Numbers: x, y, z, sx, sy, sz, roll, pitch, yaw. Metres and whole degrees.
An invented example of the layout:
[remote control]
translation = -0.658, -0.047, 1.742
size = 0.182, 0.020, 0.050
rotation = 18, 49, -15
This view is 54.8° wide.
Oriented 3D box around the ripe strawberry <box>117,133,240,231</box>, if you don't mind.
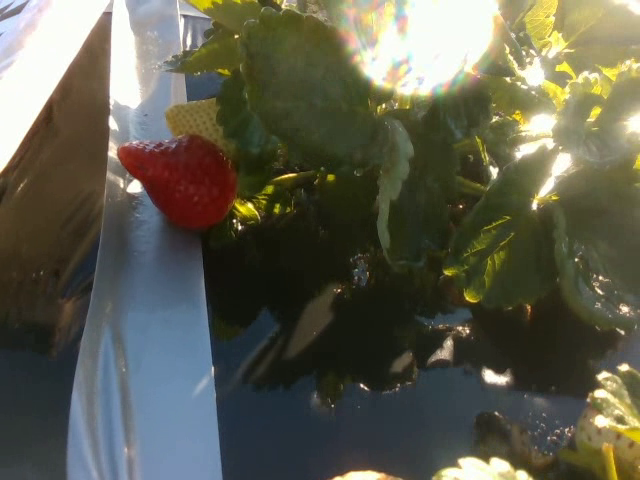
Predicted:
[ripe strawberry]
translation = -0.061, -0.028, 0.259
size = 0.045, 0.049, 0.063
rotation = -3, -16, 36
